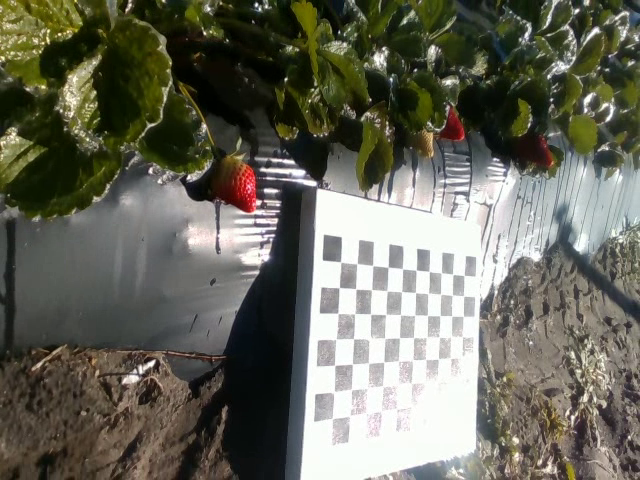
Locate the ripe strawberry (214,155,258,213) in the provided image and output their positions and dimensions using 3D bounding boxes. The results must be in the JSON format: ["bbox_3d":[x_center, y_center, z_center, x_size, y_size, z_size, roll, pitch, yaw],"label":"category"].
[{"bbox_3d":[-0.064,-0.041,0.465,0.039,0.053,0.041,-22,-2,-43],"label":"ripe strawberry"}]
